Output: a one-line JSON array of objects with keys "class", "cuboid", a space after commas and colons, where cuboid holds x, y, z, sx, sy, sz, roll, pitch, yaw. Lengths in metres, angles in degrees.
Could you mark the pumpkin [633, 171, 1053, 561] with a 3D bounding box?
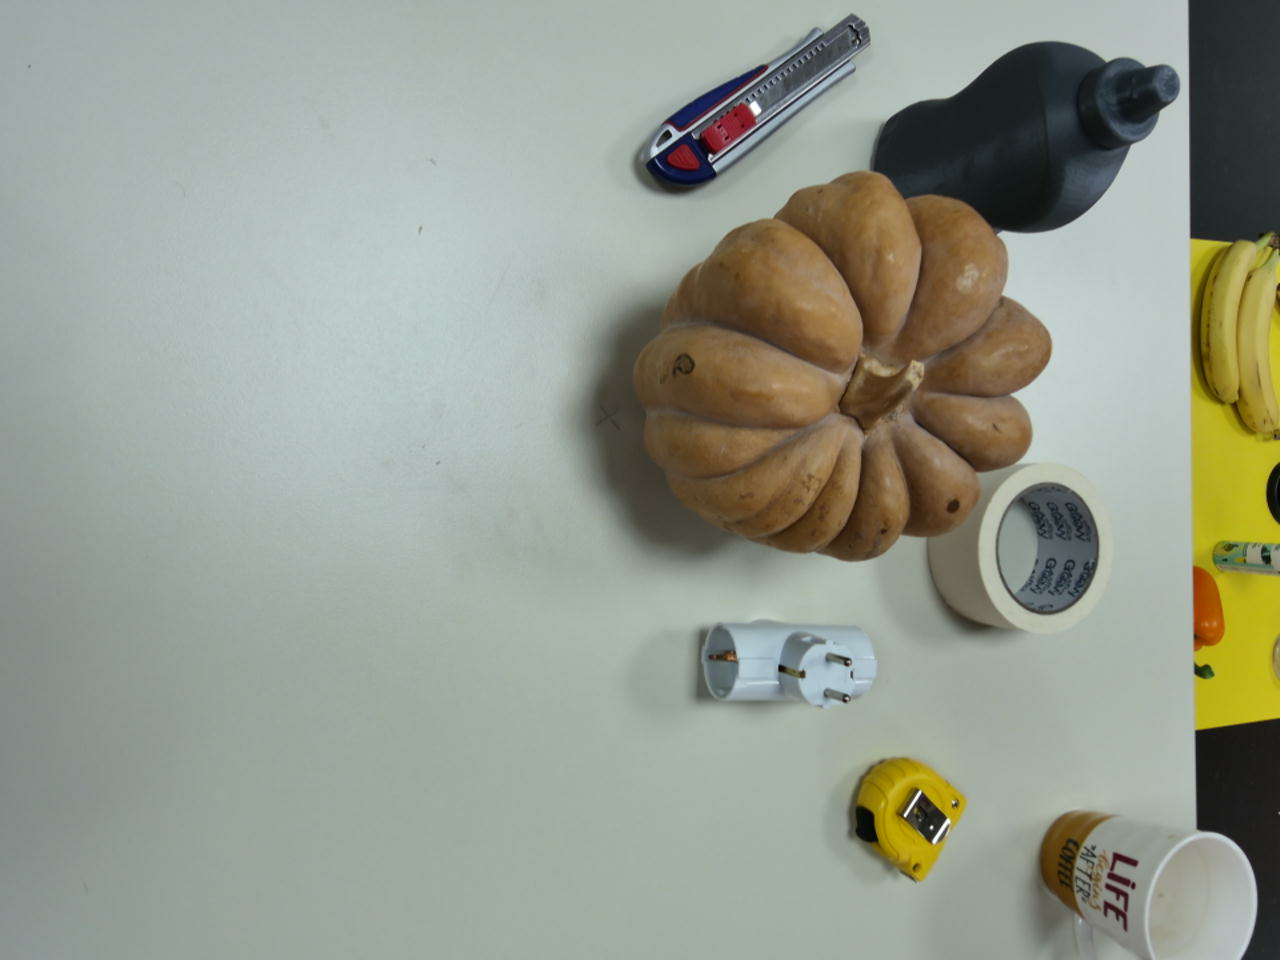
[{"class": "pumpkin", "cuboid": [0.095, -0.053, 0.514, 0.198, 0.177, 0.198, 0, 91, -22]}]
